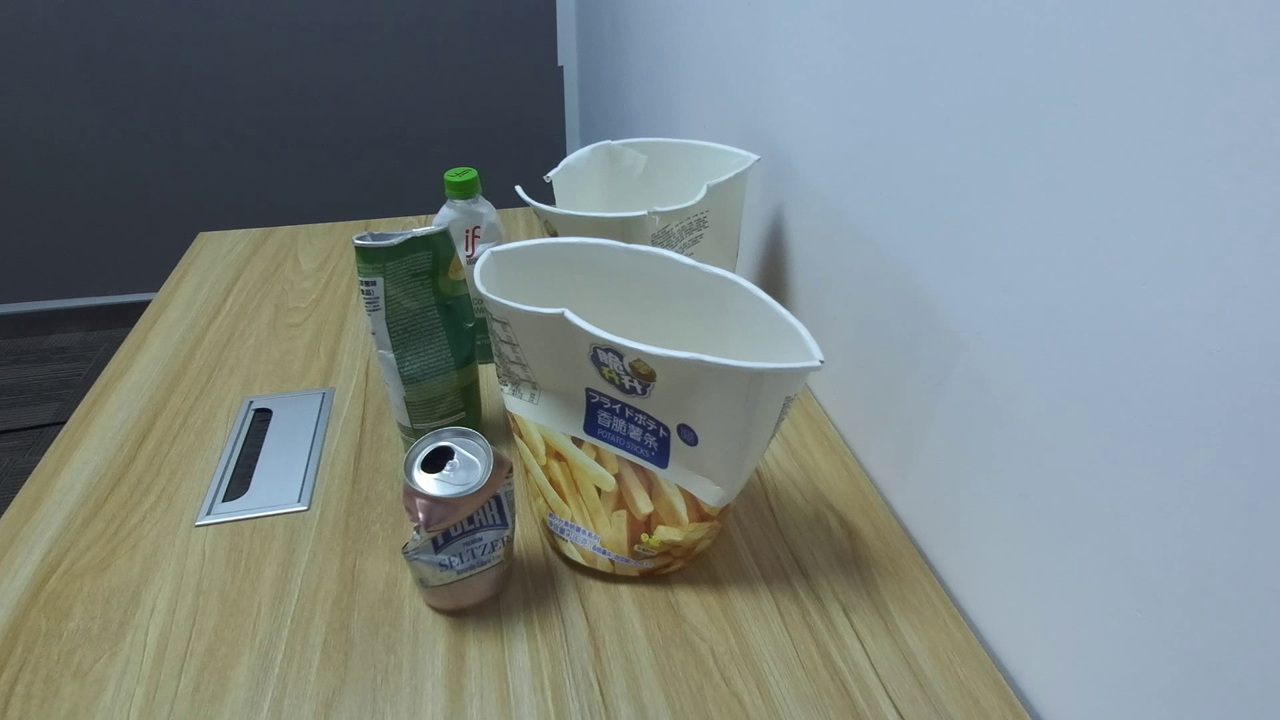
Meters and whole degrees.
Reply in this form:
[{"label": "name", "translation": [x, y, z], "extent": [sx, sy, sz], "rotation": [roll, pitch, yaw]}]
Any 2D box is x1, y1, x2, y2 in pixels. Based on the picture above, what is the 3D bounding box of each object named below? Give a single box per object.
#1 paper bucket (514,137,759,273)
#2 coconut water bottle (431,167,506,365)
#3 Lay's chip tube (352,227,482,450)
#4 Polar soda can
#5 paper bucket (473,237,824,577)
[{"label": "paper bucket", "translation": [0.006, -0.088, 0.666], "extent": [0.145, 0.197, 0.203], "rotation": [18, 39, 27]}, {"label": "coconut water bottle", "translation": [-0.156, -0.083, 0.668], "extent": [0.067, 0.187, 0.067], "rotation": [-3, 19, 1]}, {"label": "Lay's chip tube", "translation": [-0.173, -0.013, 0.572], "extent": [0.079, 0.199, 0.070], "rotation": [-12, 29, -20]}, {"label": "Polar soda can", "translation": [-0.120, 0.108, 0.466], "extent": [0.066, 0.122, 0.071], "rotation": [15, 39, 10]}, {"label": "paper bucket", "translation": [-0.003, 0.036, 0.494], "extent": [0.218, 0.199, 0.147], "rotation": [1, 36, 1]}]
